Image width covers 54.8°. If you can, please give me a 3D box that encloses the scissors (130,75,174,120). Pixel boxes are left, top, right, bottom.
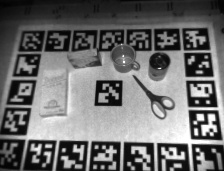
[{"bbox_3d":[0.137,0.030,0.787,0.087,0.016,0.201,-42,75,2],"label":"scissors"}]

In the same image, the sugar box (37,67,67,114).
[{"bbox_3d":[-0.223,0.018,0.814,0.092,0.045,0.176,-3,74,7],"label":"sugar box"}]

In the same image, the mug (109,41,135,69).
[{"bbox_3d":[0.047,-0.109,0.806,0.093,0.082,0.116,-35,71,-3],"label":"mug"}]

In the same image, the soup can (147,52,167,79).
[{"bbox_3d":[0.160,-0.071,0.781,0.068,0.103,0.067,-2,71,7],"label":"soup can"}]

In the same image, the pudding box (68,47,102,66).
[{"bbox_3d":[-0.102,-0.111,0.812,0.114,0.090,0.038,-9,78,3],"label":"pudding box"}]
